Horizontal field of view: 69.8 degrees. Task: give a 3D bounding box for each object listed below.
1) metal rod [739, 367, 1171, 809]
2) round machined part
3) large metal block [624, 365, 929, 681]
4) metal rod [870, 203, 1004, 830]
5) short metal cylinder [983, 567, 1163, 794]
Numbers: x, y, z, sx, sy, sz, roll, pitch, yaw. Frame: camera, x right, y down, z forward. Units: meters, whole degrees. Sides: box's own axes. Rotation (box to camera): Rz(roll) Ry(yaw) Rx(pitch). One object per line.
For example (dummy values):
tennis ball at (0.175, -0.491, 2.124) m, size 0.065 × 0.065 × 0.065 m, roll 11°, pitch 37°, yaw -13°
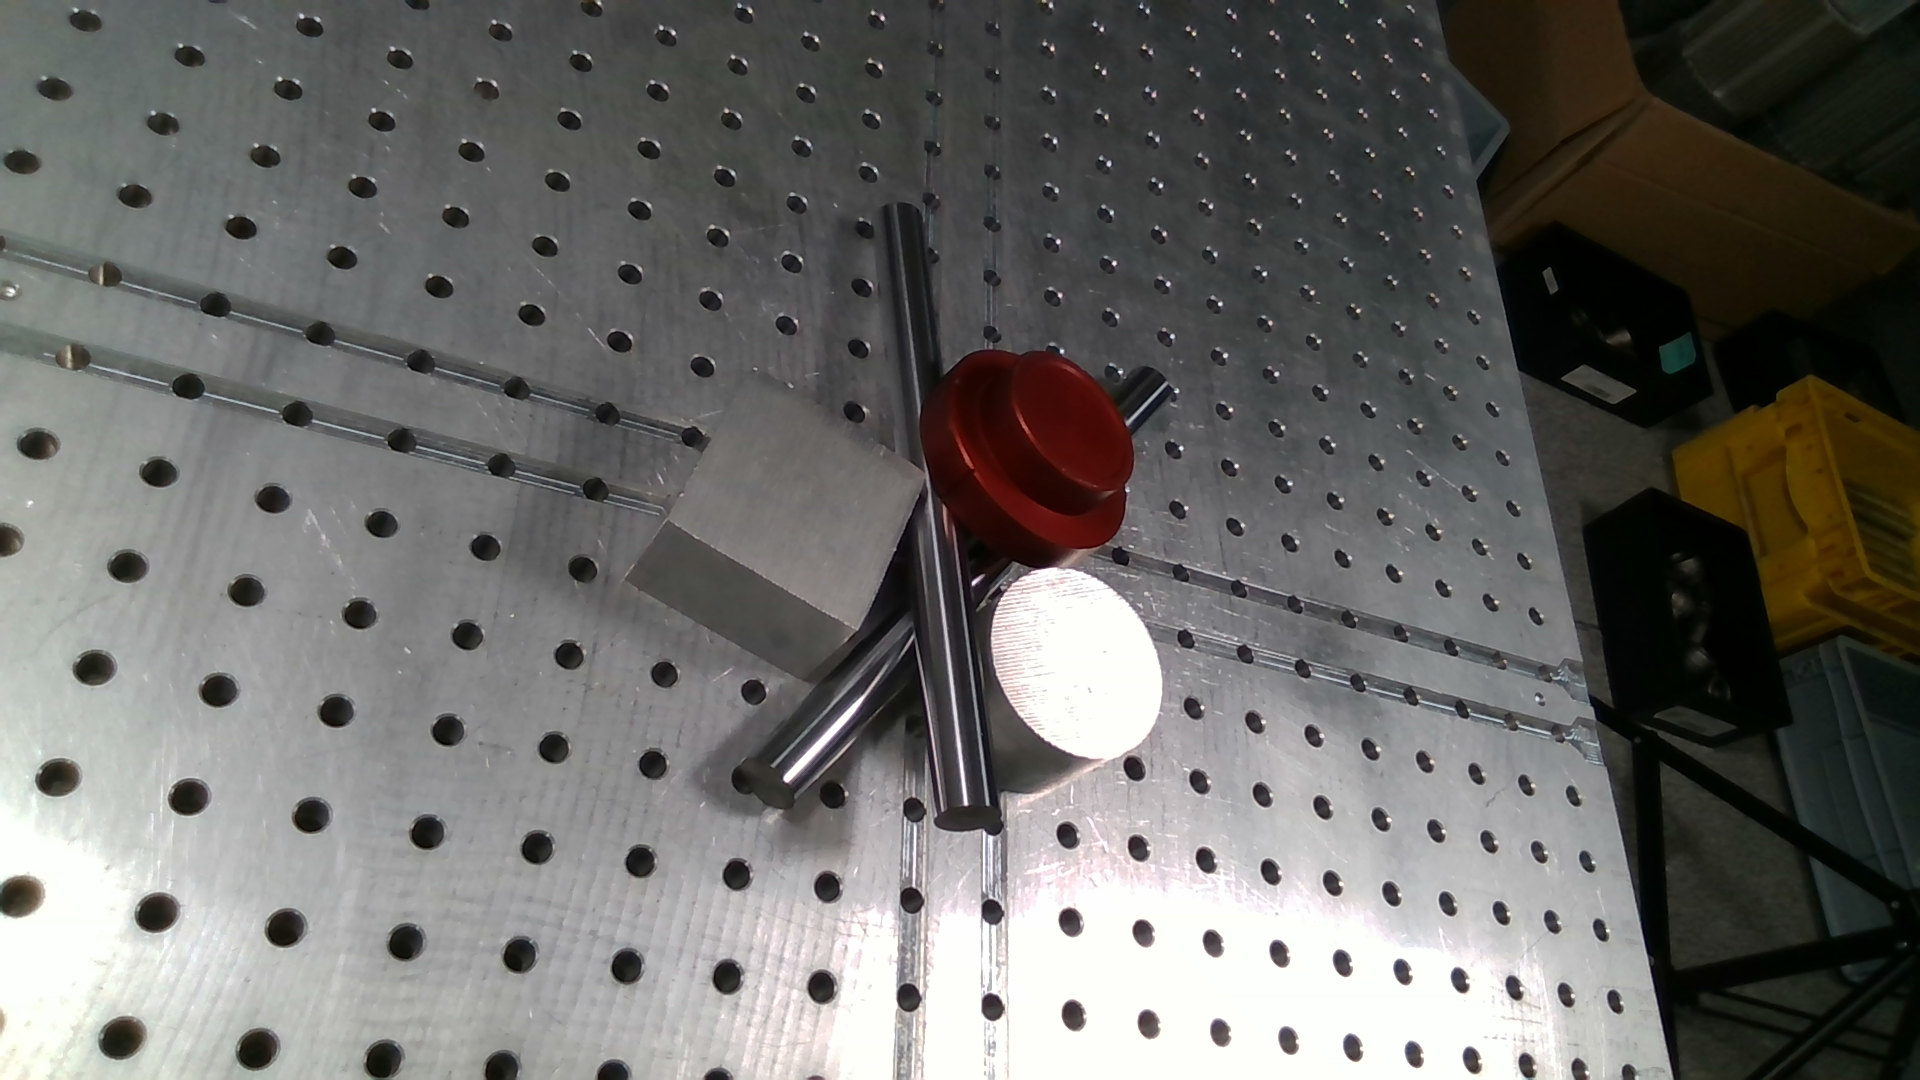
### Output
metal rod at (0.012, 0.006, 0.593) m, size 0.025 × 0.025 × 0.299 m, roll 47°, pitch 51°, yaw -2°
round machined part at (0.033, -0.039, 0.576) m, size 0.098 × 0.042 × 0.098 m, roll 24°, pitch 48°, yaw -29°
large metal block at (-0.069, -0.006, 0.531) m, size 0.080 × 0.050 × 0.080 m, roll 32°, pitch 53°, yaw -13°
metal rod at (-0.013, -0.026, 0.571) m, size 0.025 × 0.025 × 0.299 m, roll 11°, pitch 53°, yaw -27°
short metal cylinder at (0.035, 0.058, 0.563) m, size 0.080 × 0.050 × 0.080 m, roll 14°, pitch 59°, yaw -25°
